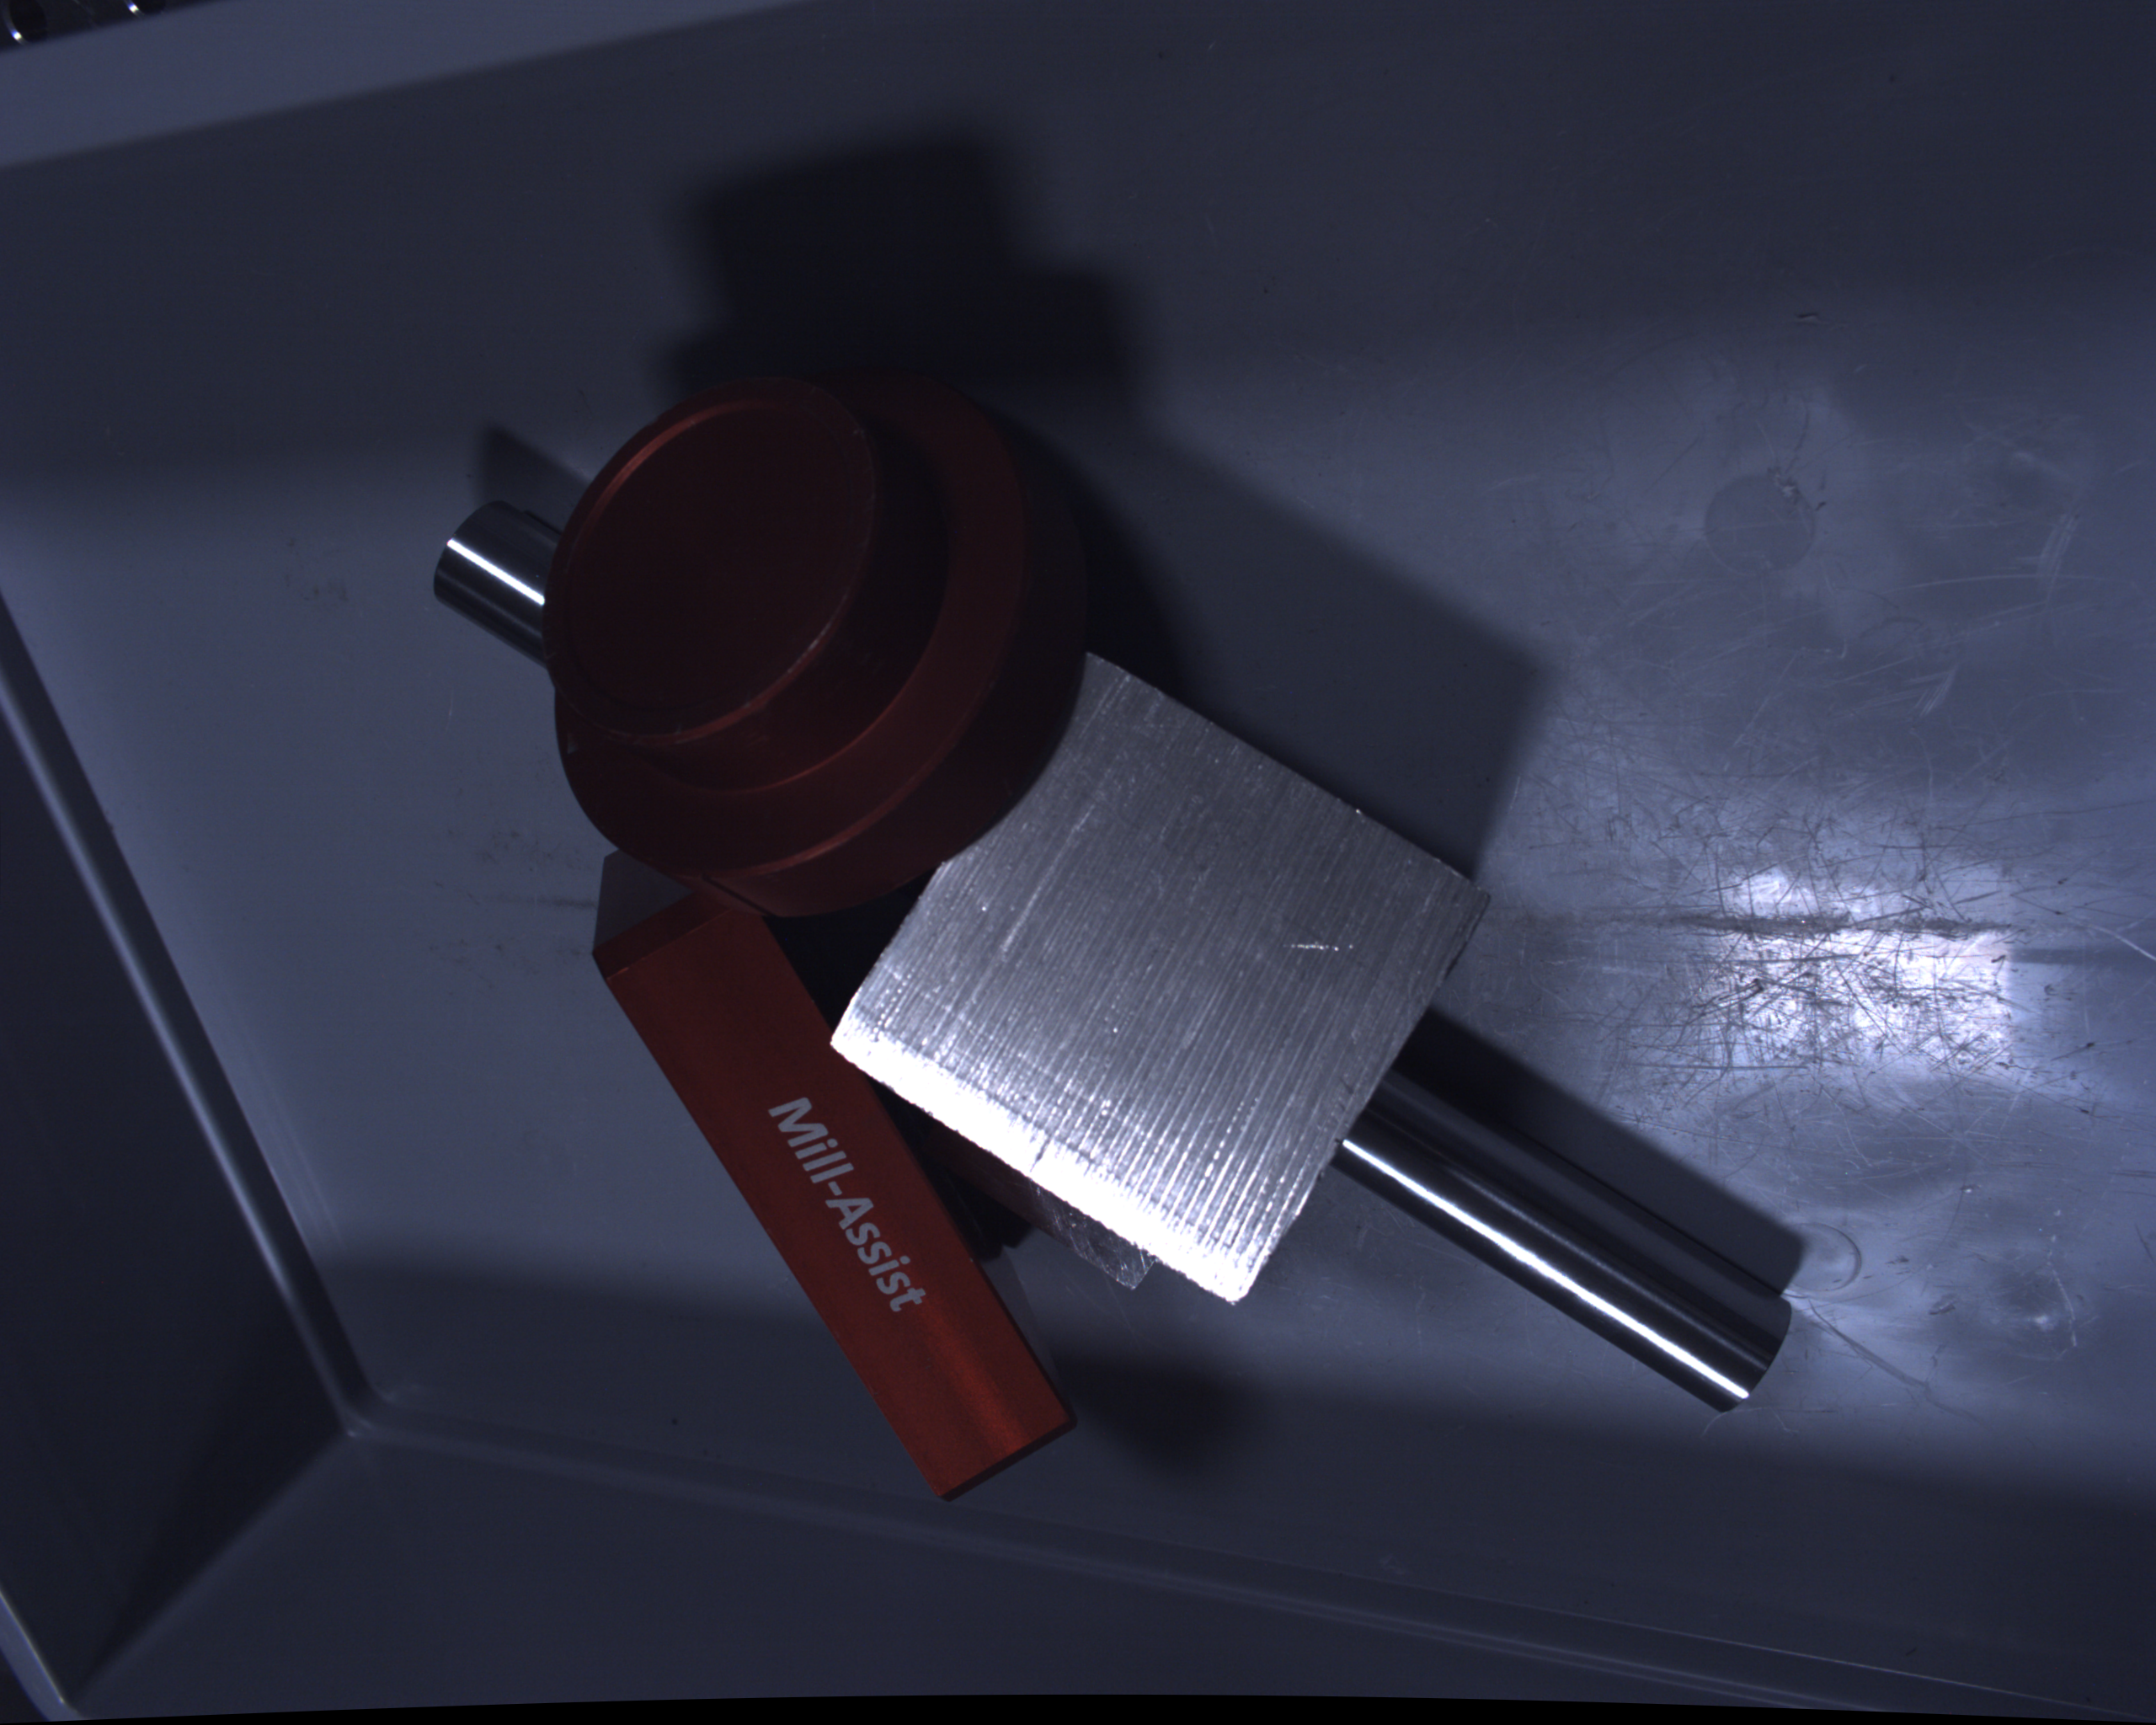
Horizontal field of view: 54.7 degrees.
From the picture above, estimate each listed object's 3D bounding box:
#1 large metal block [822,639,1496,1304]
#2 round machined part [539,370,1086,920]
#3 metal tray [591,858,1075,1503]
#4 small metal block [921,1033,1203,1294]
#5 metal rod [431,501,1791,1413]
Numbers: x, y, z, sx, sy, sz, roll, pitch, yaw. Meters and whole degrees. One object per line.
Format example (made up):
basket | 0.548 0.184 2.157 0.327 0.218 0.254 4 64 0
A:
large metal block | 0.015 0.020 0.368 0.080 0.050 0.080 32 86 7
round machined part | -0.052 -0.043 0.356 0.098 0.098 0.042 -2 158 28
metal tray | -0.051 0.055 0.426 0.030 0.090 0.130 -30 106 -4
small metal block | 0.005 0.049 0.417 0.050 0.050 0.025 33 129 6
metal rod | 0.002 0.015 0.414 0.301 0.025 0.025 32 128 7
